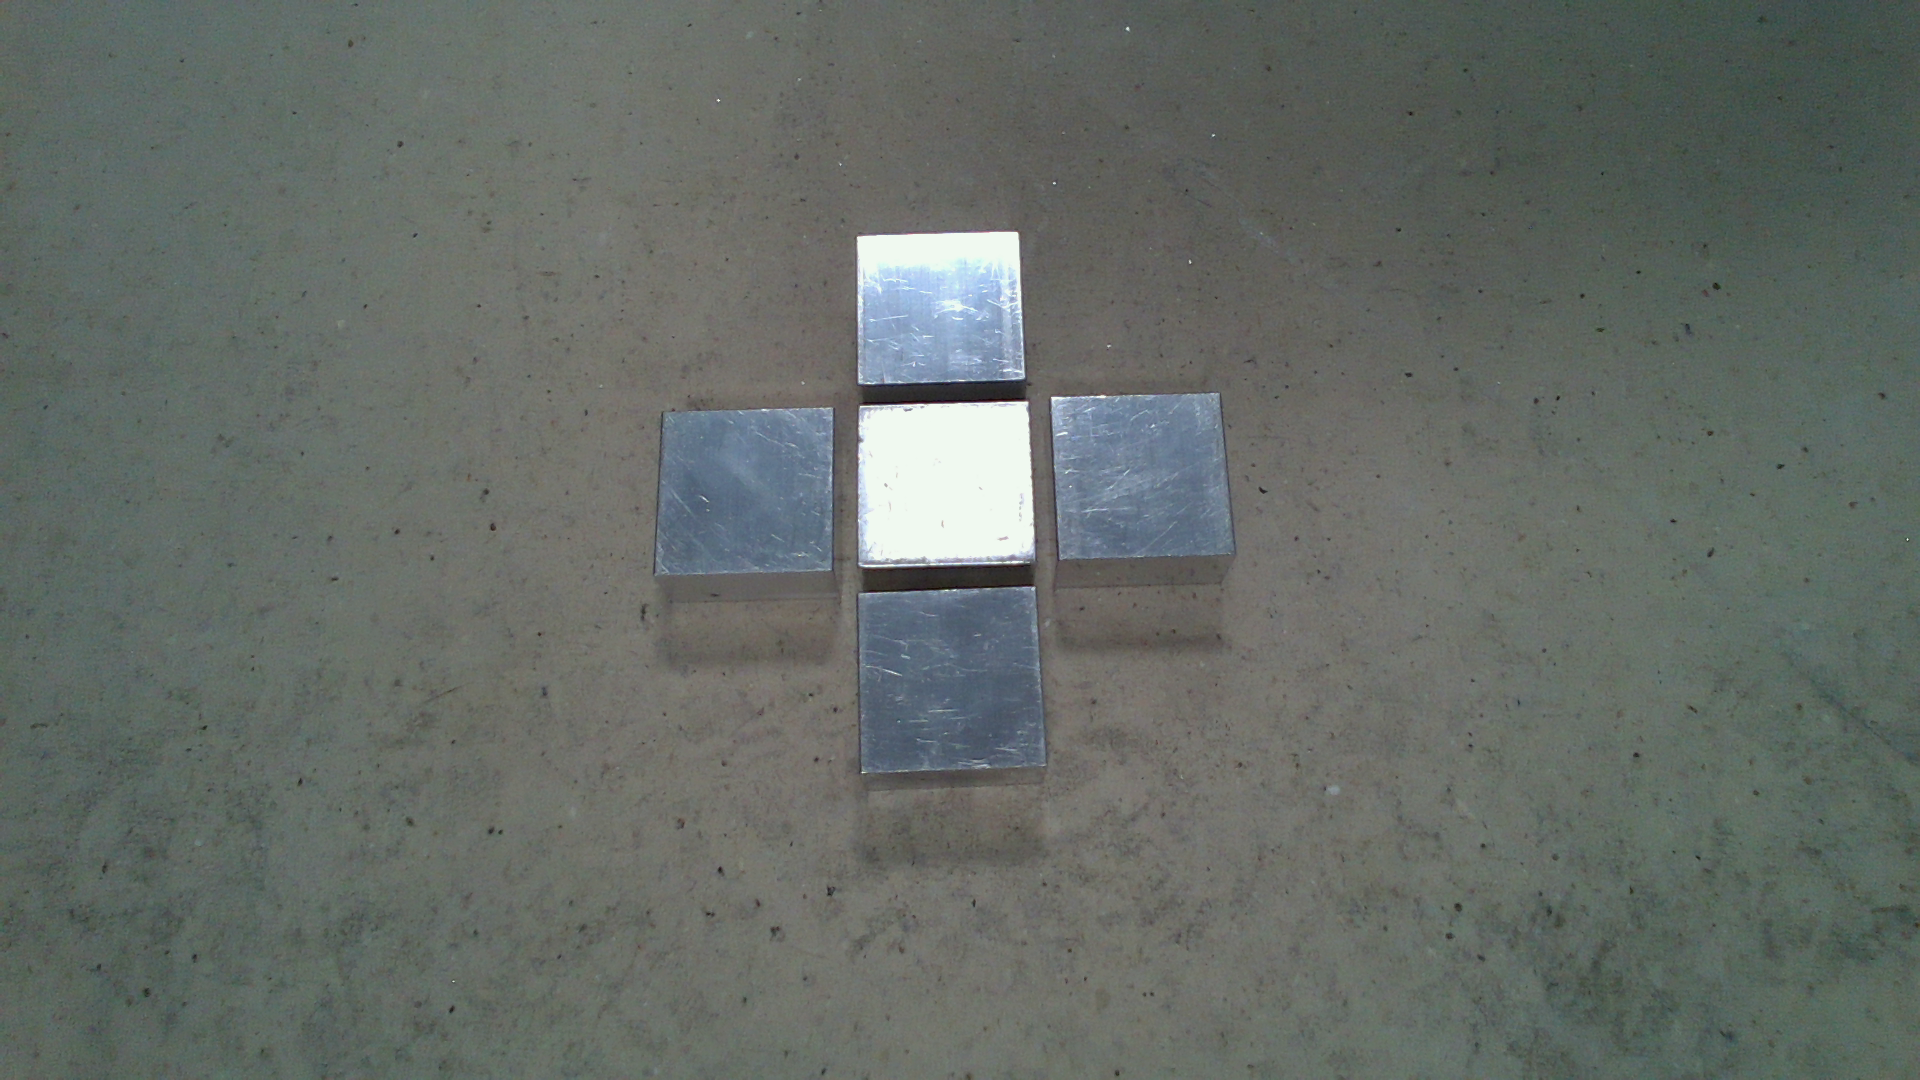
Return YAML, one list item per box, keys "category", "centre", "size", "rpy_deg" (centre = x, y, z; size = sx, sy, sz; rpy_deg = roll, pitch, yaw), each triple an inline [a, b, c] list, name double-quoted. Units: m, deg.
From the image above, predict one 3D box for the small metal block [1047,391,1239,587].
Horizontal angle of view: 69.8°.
- category: "small metal block"
  centre: [0.052, -0.015, 0.400]
  size: [0.050, 0.025, 0.050]
  rpy_deg: [-2, 70, -1]

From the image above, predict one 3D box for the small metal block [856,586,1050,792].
- category: "small metal block"
  centre: [-0.002, 0.041, 0.380]
  size: [0.050, 0.025, 0.050]
  rpy_deg: [-2, 70, -1]

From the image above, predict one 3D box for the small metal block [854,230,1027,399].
- category: "small metal block"
  centre: [-0.006, -0.065, 0.419]
  size: [0.050, 0.025, 0.050]
  rpy_deg: [-2, 70, -1]

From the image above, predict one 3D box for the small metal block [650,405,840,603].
- category: "small metal block"
  centre: [-0.061, -0.010, 0.398]
  size: [0.050, 0.025, 0.050]
  rpy_deg: [-2, 70, -1]

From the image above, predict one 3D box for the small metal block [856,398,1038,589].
- category: "small metal block"
  centre: [-0.004, -0.012, 0.399]
  size: [0.050, 0.025, 0.050]
  rpy_deg: [-2, 70, -1]
